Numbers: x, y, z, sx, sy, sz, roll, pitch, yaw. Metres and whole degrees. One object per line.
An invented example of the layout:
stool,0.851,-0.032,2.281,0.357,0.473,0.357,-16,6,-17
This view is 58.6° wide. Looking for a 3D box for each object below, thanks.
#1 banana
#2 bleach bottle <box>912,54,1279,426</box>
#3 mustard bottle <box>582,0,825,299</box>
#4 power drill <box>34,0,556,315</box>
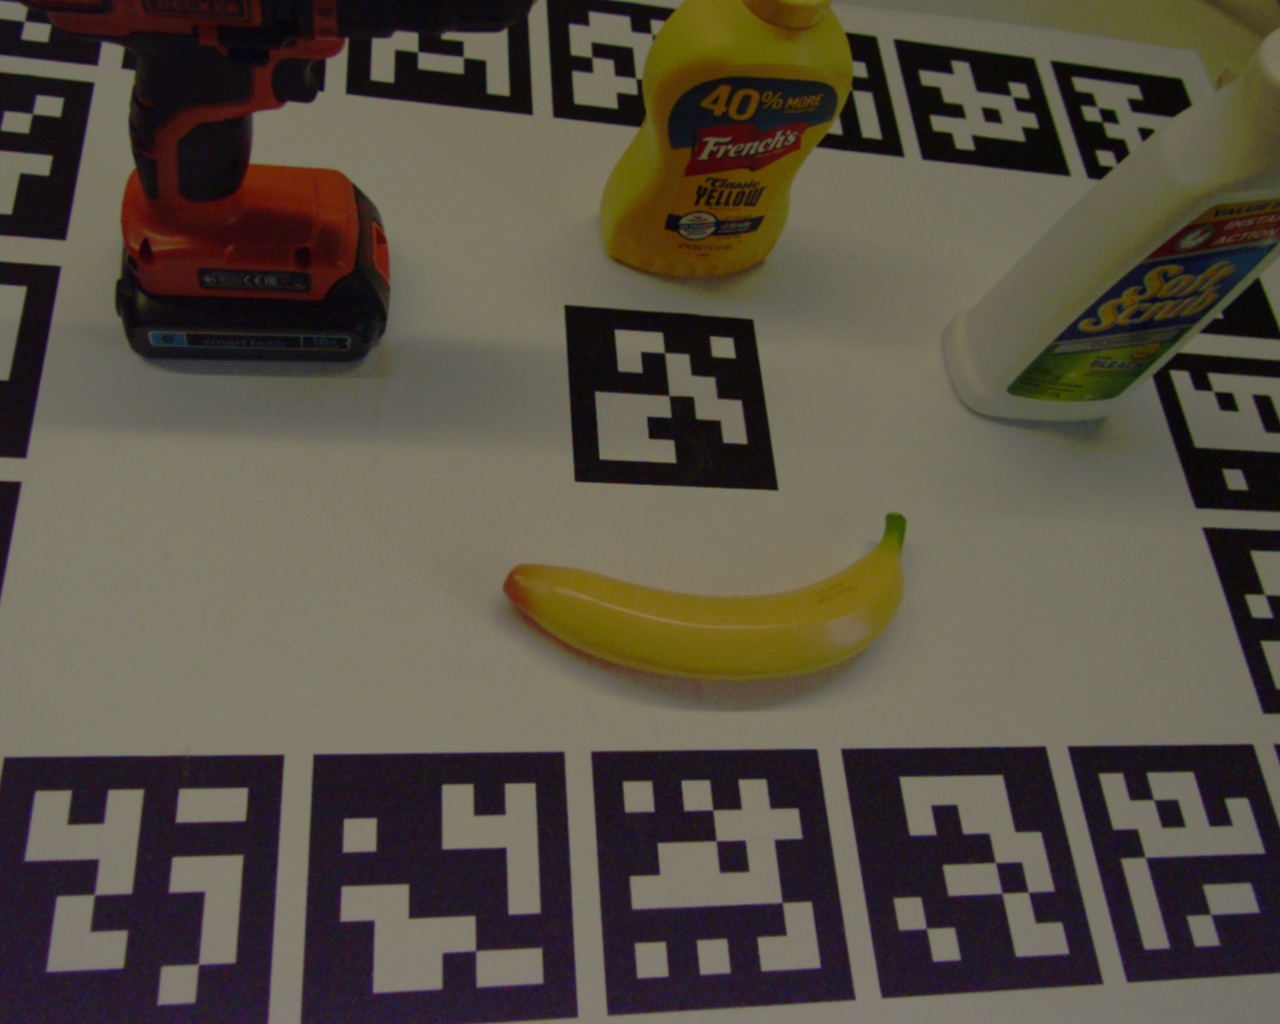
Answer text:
banana,0.035,0.039,0.533,0.196,0.039,0.074,-4,68,-13
bleach bottle,0.235,-0.132,0.555,0.102,0.251,0.068,10,63,-11
mustard bottle,0.038,-0.183,0.567,0.095,0.192,0.059,-5,67,-19
power drill,-0.134,-0.159,0.477,0.183,0.187,0.057,-5,67,-13
